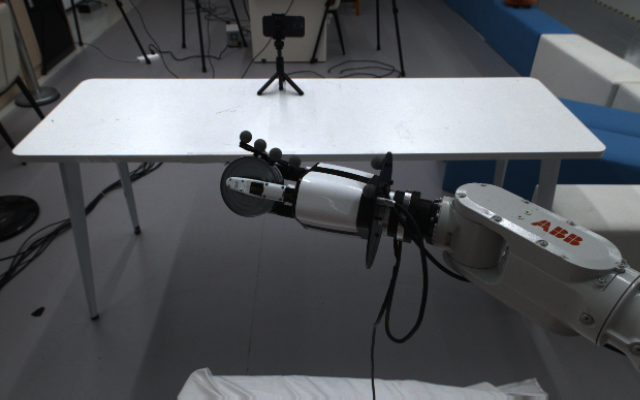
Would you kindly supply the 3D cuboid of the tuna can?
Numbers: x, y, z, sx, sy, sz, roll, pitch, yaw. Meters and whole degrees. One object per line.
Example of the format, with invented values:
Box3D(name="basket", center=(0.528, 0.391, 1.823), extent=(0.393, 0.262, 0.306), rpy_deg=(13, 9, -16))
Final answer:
Box3D(name="tuna can", center=(-0.094, -0.019, 0.687), extent=(0.085, 0.085, 0.034), rpy_deg=(10, 4, 11))
